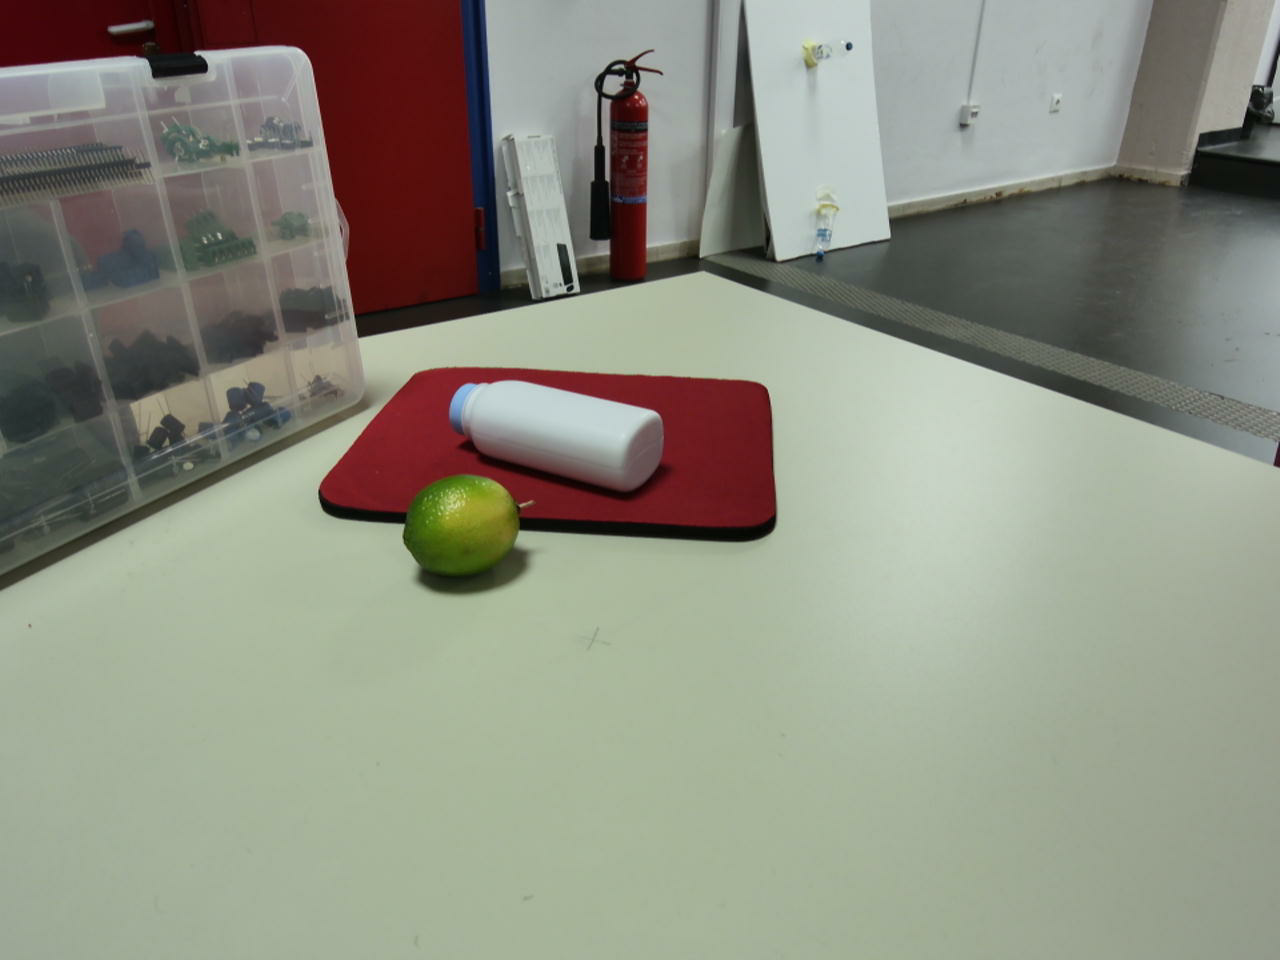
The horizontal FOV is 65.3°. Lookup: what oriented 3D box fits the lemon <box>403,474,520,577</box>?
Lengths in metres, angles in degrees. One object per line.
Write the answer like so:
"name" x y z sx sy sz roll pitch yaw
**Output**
"lemon" -0.090 0.023 0.503 0.055 0.050 0.054 6 25 11
